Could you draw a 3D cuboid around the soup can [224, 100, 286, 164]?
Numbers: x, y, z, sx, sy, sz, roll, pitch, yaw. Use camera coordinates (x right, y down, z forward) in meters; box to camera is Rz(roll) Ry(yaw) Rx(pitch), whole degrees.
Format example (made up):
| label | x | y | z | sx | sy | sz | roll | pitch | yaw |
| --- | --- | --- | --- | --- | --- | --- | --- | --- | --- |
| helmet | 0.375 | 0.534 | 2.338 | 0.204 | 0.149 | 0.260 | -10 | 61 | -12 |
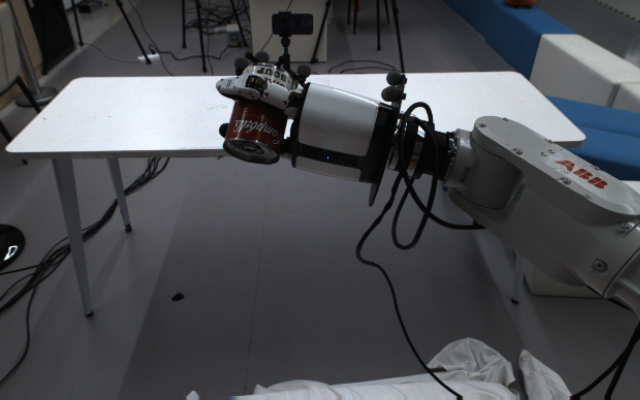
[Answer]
| label | x | y | z | sx | sy | sz | roll | pitch | yaw |
| --- | --- | --- | --- | --- | --- | --- | --- | --- | --- |
| soup can | -0.070 | -0.102 | 0.575 | 0.067 | 0.067 | 0.101 | 8 | 72 | 9 |
